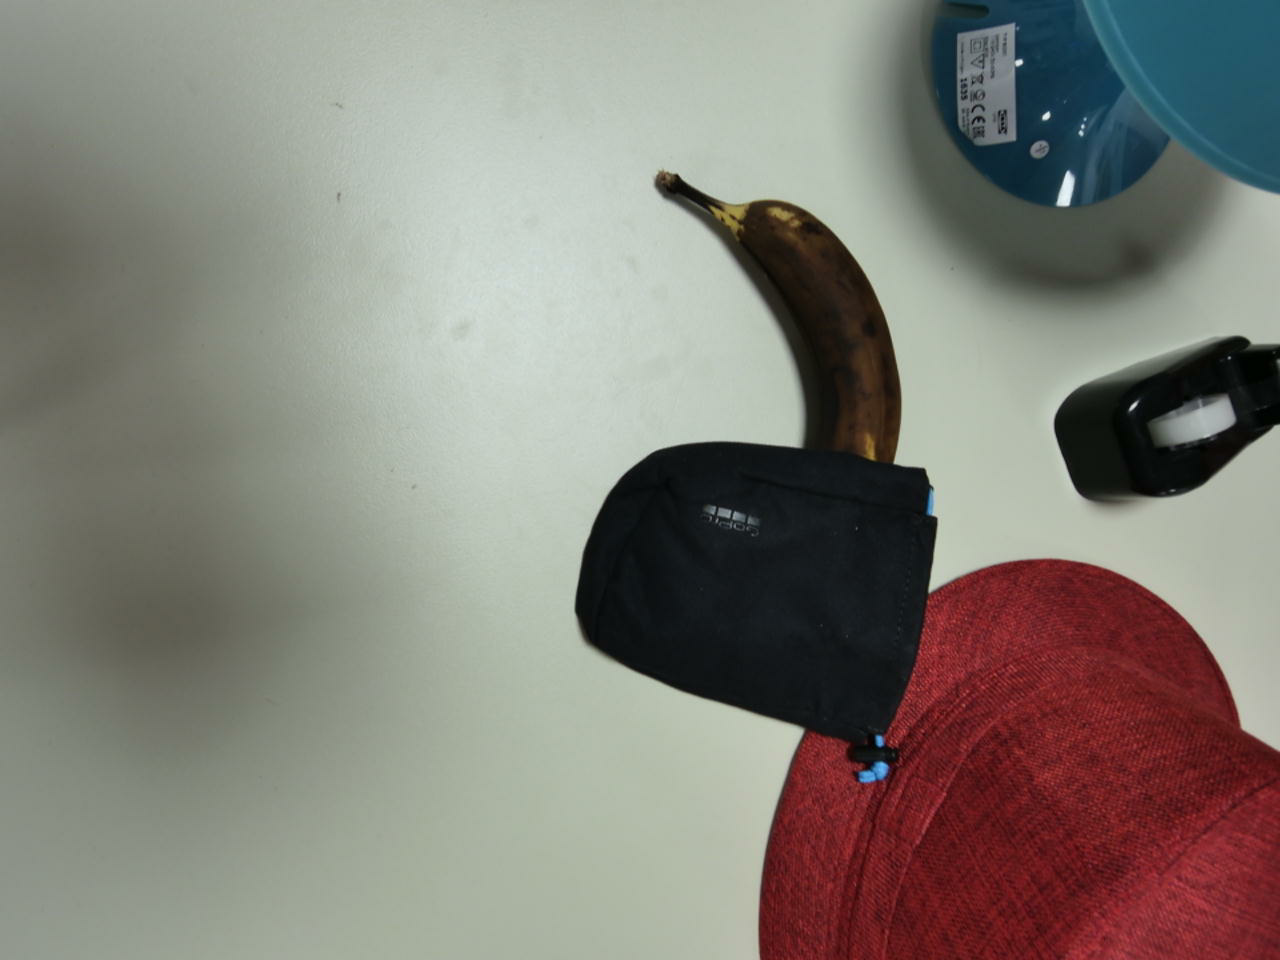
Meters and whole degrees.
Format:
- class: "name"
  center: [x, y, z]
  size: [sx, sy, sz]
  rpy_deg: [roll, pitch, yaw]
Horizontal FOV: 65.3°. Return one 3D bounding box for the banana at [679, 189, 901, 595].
- class: "banana"
  center: [0.070, -0.047, 0.436]
  size: [0.091, 0.034, 0.188]
  rpy_deg: [-9, 93, -11]
